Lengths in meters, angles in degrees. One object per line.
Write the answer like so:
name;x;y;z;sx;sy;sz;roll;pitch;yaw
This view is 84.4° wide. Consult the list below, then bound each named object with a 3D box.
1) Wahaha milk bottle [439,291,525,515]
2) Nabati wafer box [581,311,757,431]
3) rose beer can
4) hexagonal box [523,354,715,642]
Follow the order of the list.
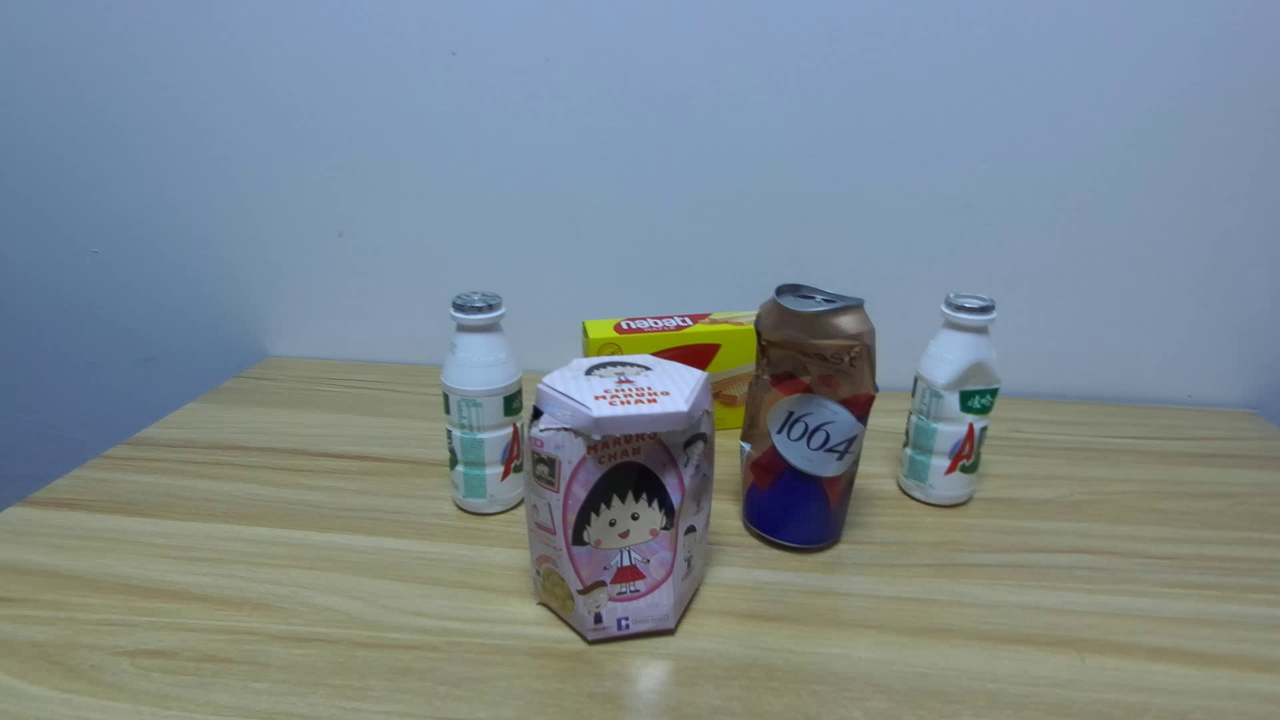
Wahaha milk bottle;-0.103;0.030;0.473;0.053;0.147;0.053;1;19;0
Nabati wafer box;0.050;0.010;0.607;0.203;0.093;0.042;-4;26;-16
rose beer can;0.102;0.037;0.440;0.073;0.162;0.068;5;20;5
hexagonal box;-0.012;0.072;0.387;0.091;0.134;0.090;11;21;27
